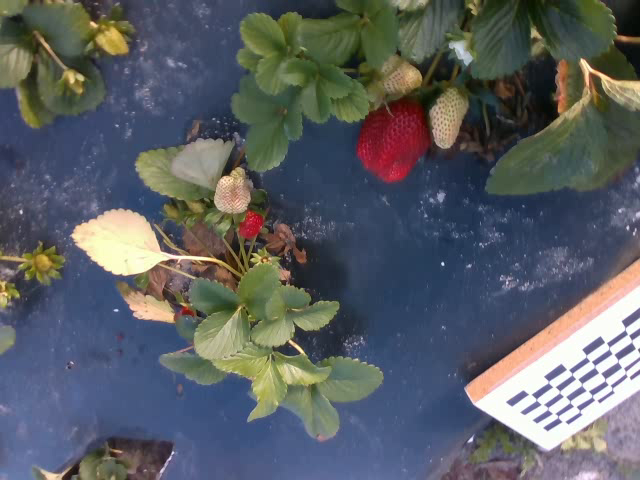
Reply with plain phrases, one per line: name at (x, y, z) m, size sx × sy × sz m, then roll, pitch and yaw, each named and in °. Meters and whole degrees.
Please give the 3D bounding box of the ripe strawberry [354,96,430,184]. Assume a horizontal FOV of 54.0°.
ripe strawberry at (0.056, -0.074, 0.473) m, size 0.057 × 0.071 × 0.058 m, roll 28°, pitch -15°, yaw 39°
